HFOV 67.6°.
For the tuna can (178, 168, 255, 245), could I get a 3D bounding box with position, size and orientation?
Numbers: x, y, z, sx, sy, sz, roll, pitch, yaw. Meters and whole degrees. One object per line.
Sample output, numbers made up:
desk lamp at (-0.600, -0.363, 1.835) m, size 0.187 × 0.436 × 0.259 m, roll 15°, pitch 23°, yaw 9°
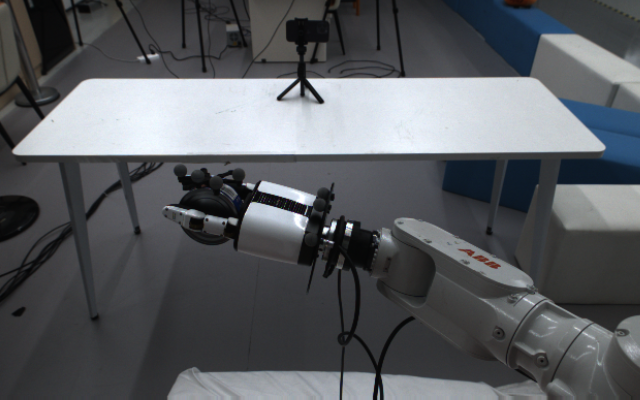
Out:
tuna can at (-0.148, 0.019, 0.666) m, size 0.085 × 0.085 × 0.034 m, roll 5°, pitch 22°, yaw 5°
